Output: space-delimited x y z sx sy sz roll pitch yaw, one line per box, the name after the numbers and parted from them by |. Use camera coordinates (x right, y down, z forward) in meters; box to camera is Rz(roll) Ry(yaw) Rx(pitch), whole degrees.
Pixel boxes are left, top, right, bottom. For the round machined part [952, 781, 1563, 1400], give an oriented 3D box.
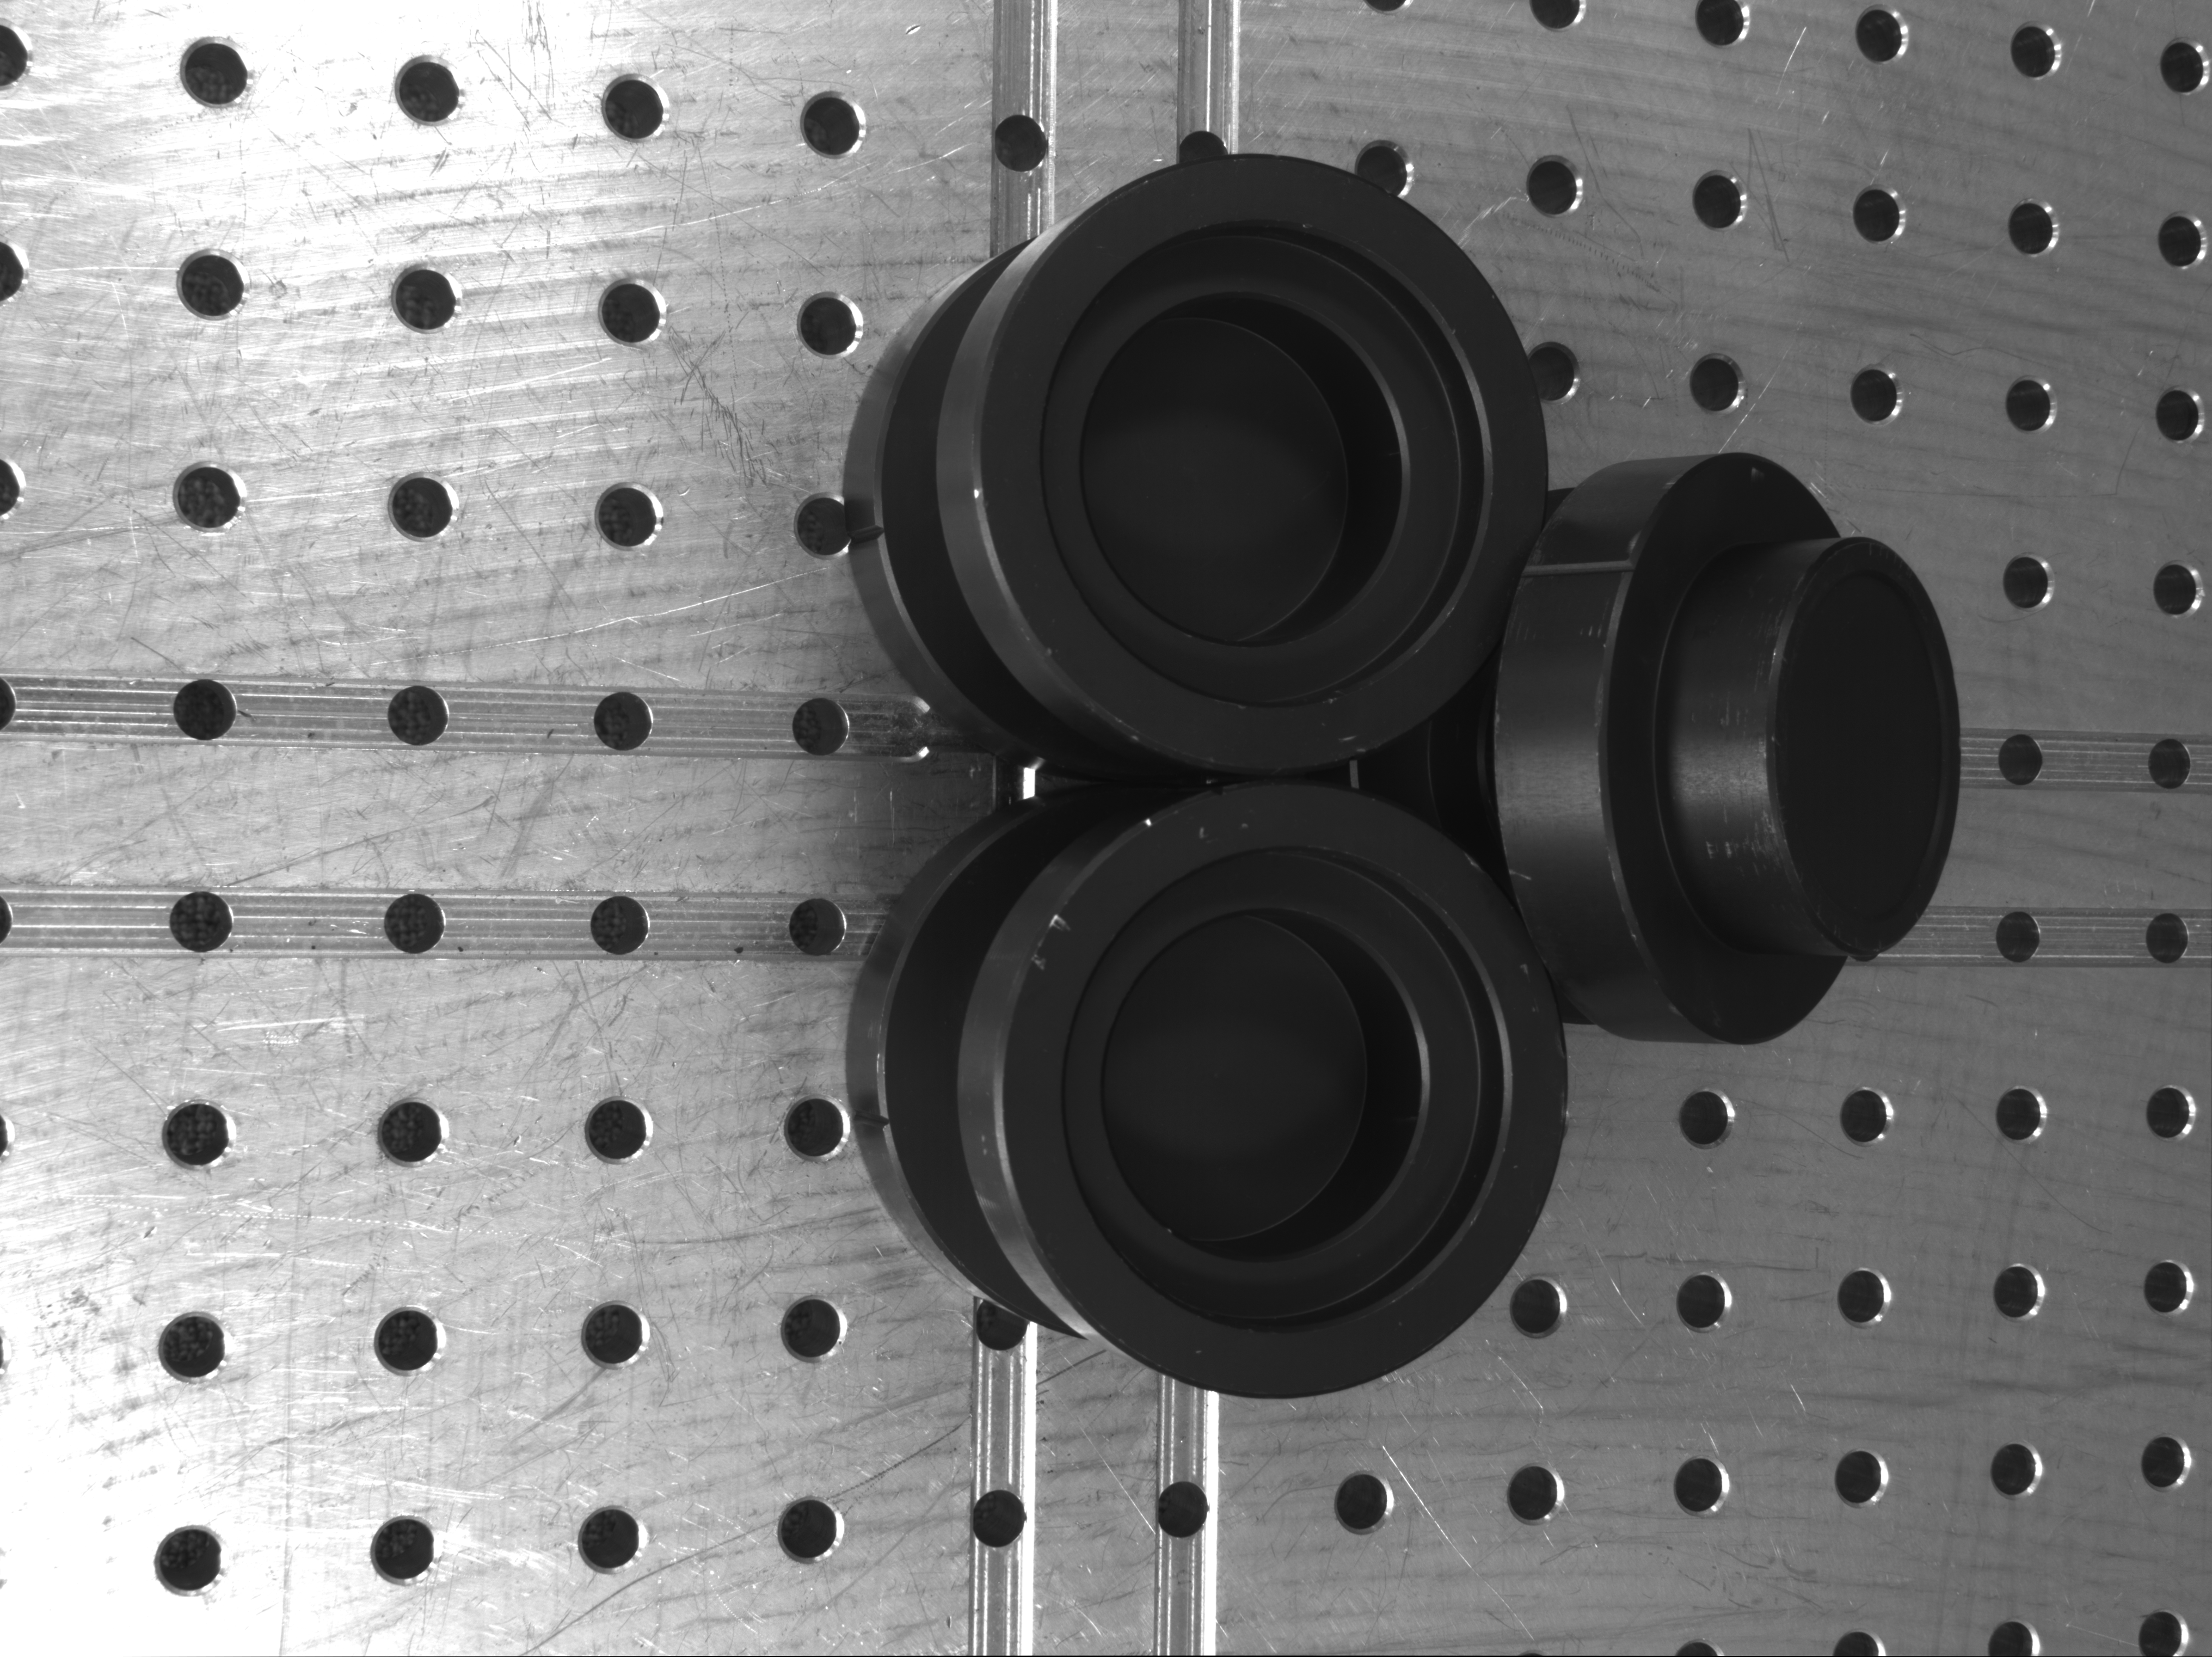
0.021 0.041 0.599 0.098 0.042 0.098 0 90 -20 | round machined part

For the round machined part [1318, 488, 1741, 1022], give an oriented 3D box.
0.089 -0.013 0.670 0.098 0.042 0.098 0 90 -20 | round machined part

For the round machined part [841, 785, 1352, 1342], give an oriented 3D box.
0.006 0.041 0.640 0.098 0.042 0.098 0 90 -20 | round machined part

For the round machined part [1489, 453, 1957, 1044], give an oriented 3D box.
0.107 -0.013 0.608 0.098 0.042 0.098 1 89 -52 | round machined part

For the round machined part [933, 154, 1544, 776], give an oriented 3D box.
0.018 -0.057 0.598 0.098 0.042 0.098 0 90 -20 | round machined part

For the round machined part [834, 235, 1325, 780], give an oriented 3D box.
0.005 -0.057 0.640 0.098 0.042 0.098 0 90 -20 | round machined part
